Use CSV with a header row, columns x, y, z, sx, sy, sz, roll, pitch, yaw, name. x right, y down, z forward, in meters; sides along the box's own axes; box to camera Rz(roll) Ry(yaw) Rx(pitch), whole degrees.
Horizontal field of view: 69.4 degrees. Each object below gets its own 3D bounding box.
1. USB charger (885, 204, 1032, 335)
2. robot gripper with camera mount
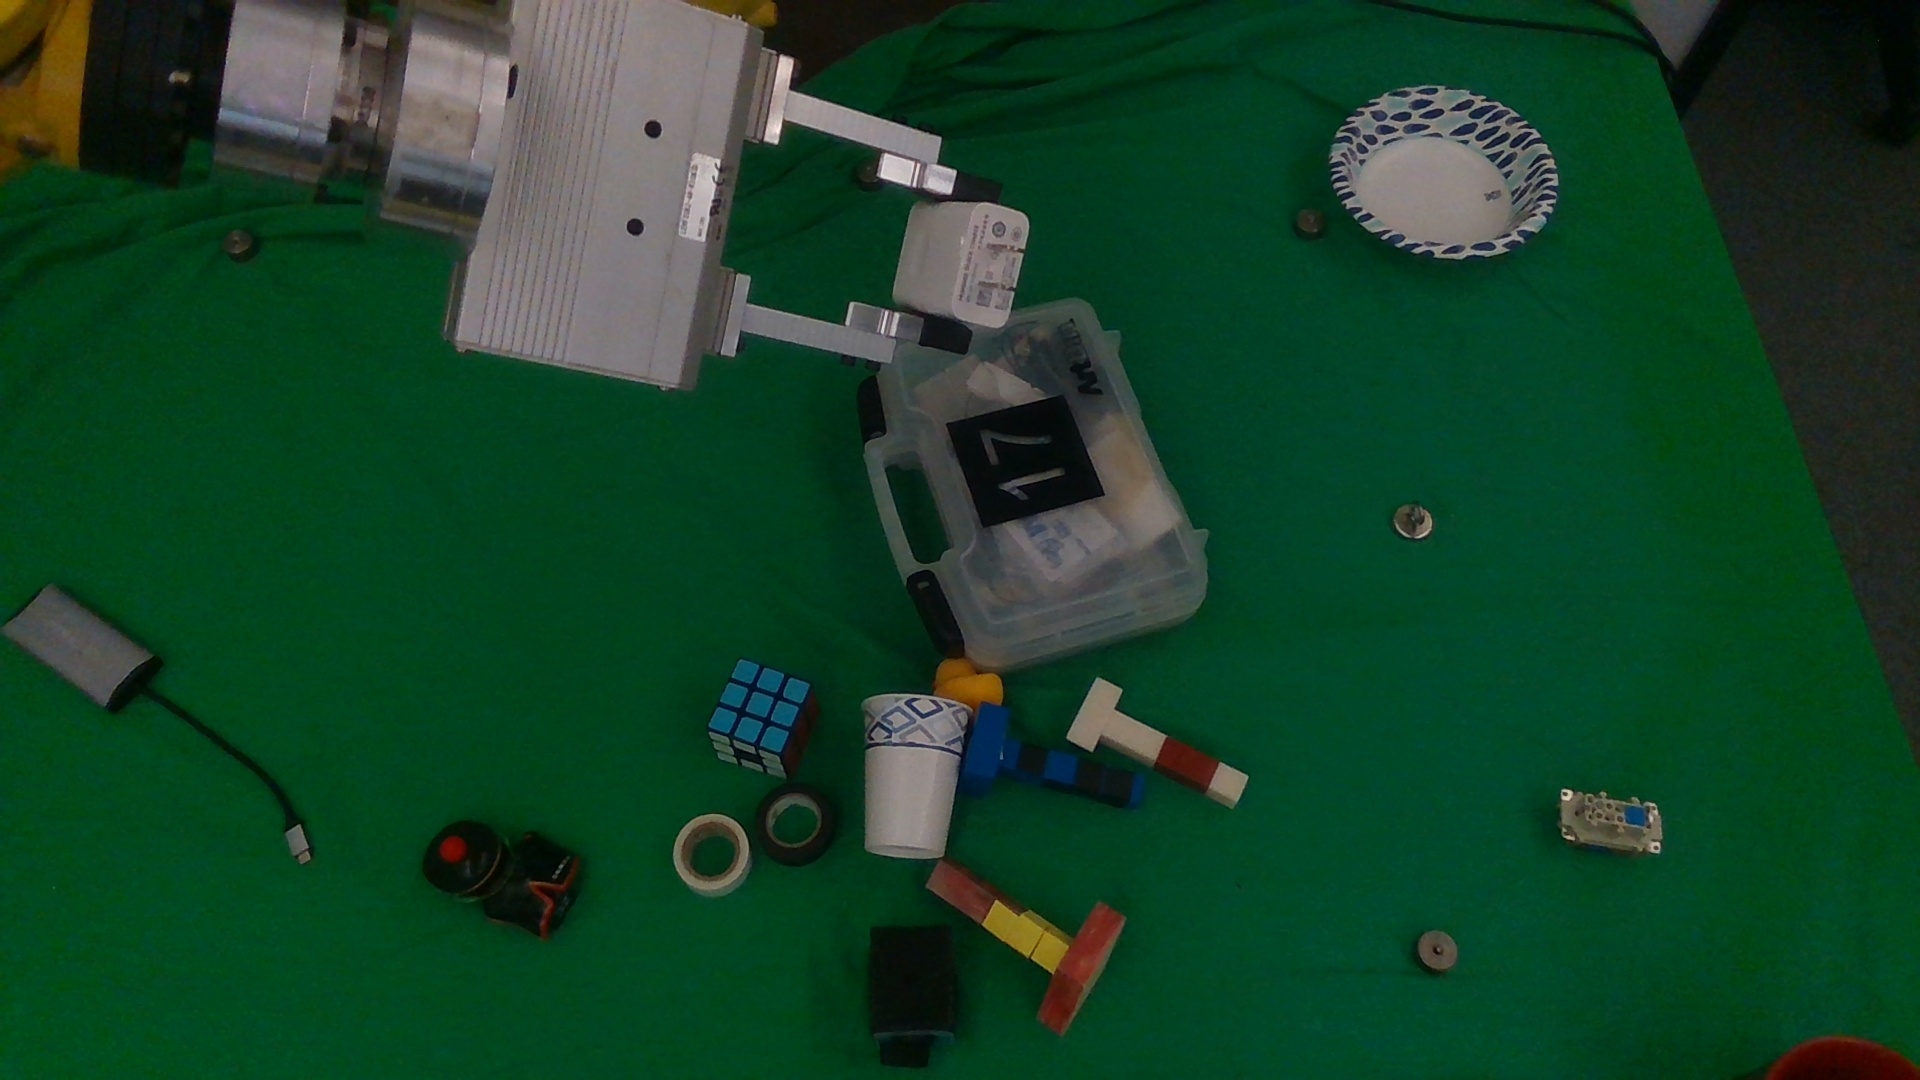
x,y,z,sx,sy,sz,roll,pitch,yaw,name
0.002,-0.094,0.482,0.029,0.076,0.044,10,95,-29,USB charger
-0.108,-0.111,0.538,0.158,0.194,0.119,9,96,-30,robot gripper with camera mount
